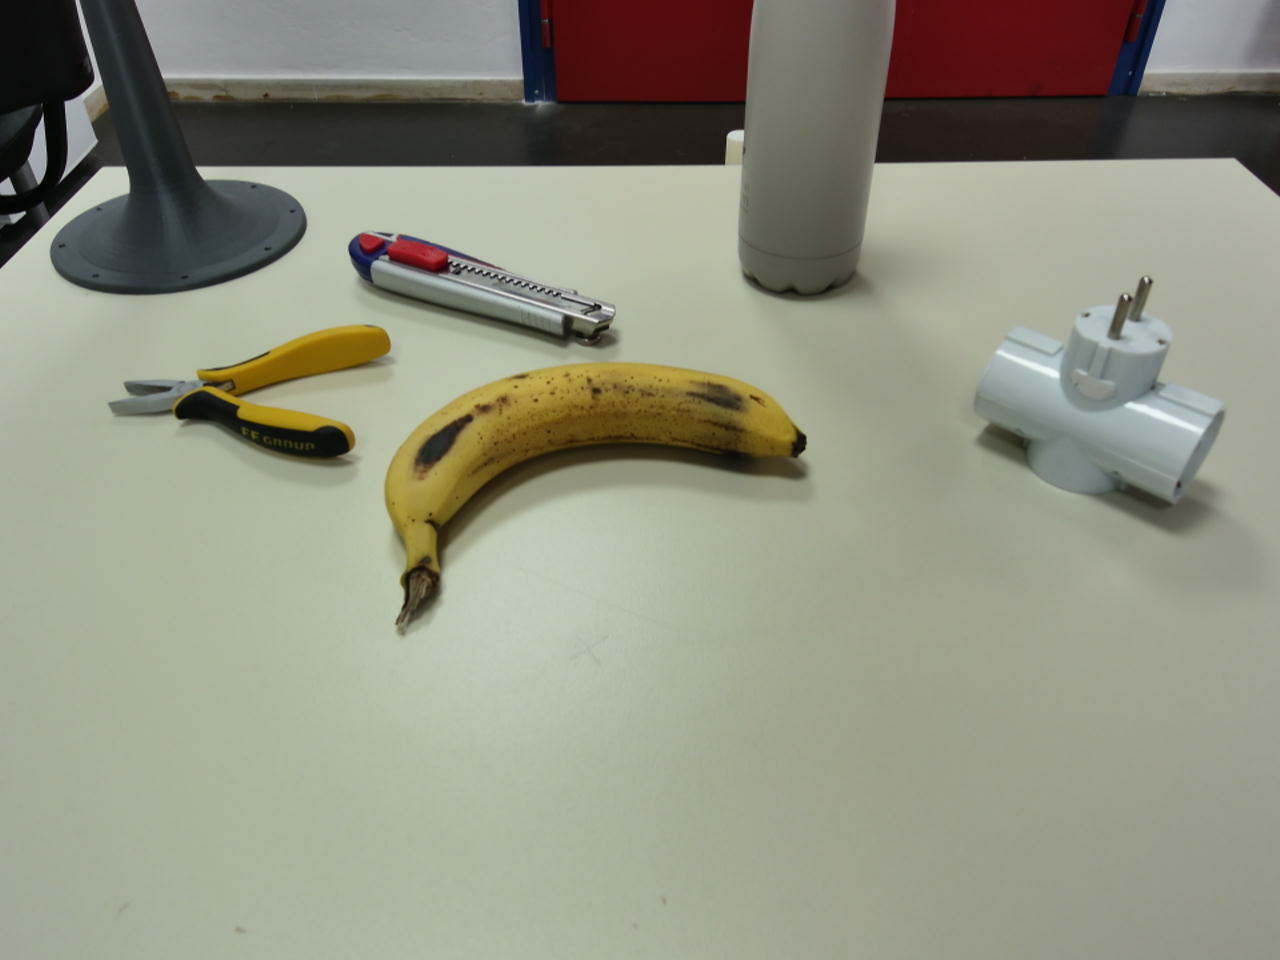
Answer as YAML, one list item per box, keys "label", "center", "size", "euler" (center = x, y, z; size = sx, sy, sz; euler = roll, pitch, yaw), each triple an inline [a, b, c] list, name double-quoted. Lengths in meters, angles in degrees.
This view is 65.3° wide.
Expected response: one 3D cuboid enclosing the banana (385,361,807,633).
- label: "banana"
  center: [-0.028, -0.016, 0.440]
  size: [0.186, 0.038, 0.097]
  euler: [-18, 42, -22]
